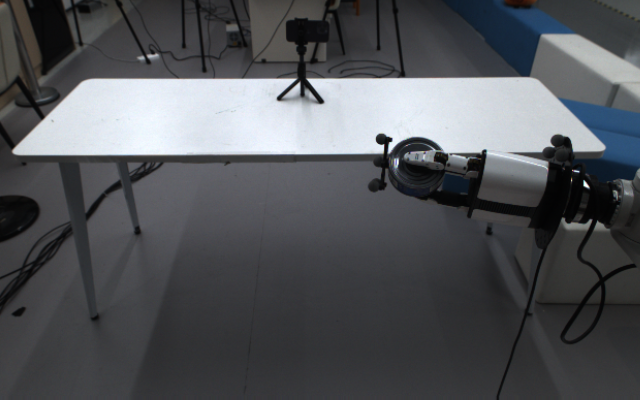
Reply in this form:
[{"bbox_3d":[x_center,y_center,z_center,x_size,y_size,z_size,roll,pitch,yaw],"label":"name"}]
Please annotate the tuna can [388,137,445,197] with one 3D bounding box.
[{"bbox_3d":[0.147,-0.047,0.718,0.085,0.034,0.085,-2,69,5],"label":"tuna can"}]
